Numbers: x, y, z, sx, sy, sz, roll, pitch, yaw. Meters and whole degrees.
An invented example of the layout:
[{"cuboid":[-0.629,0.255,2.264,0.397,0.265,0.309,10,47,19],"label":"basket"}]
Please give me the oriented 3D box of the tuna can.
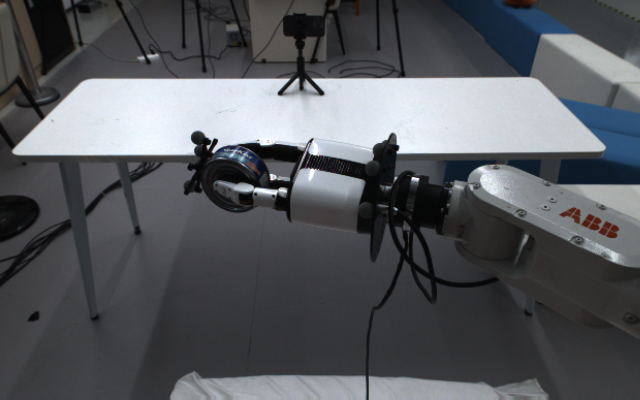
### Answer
[{"cuboid":[-0.107,-0.025,0.627,0.085,0.085,0.034,8,36,9],"label":"tuna can"}]
